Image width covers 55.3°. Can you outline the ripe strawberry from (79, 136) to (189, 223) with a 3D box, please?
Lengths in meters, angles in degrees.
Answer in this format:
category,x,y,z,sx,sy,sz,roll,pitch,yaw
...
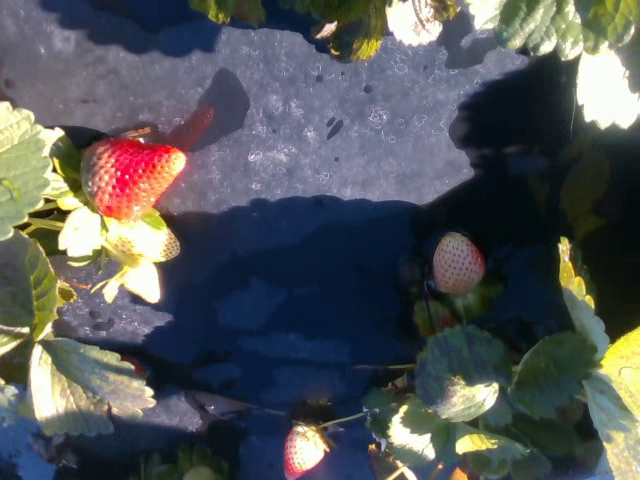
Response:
category,x,y,z,sx,sy,sz,roll,pitch,yaw
ripe strawberry,-0.089,-0.035,0.299,0.064,0.052,0.049,-20,-22,26
